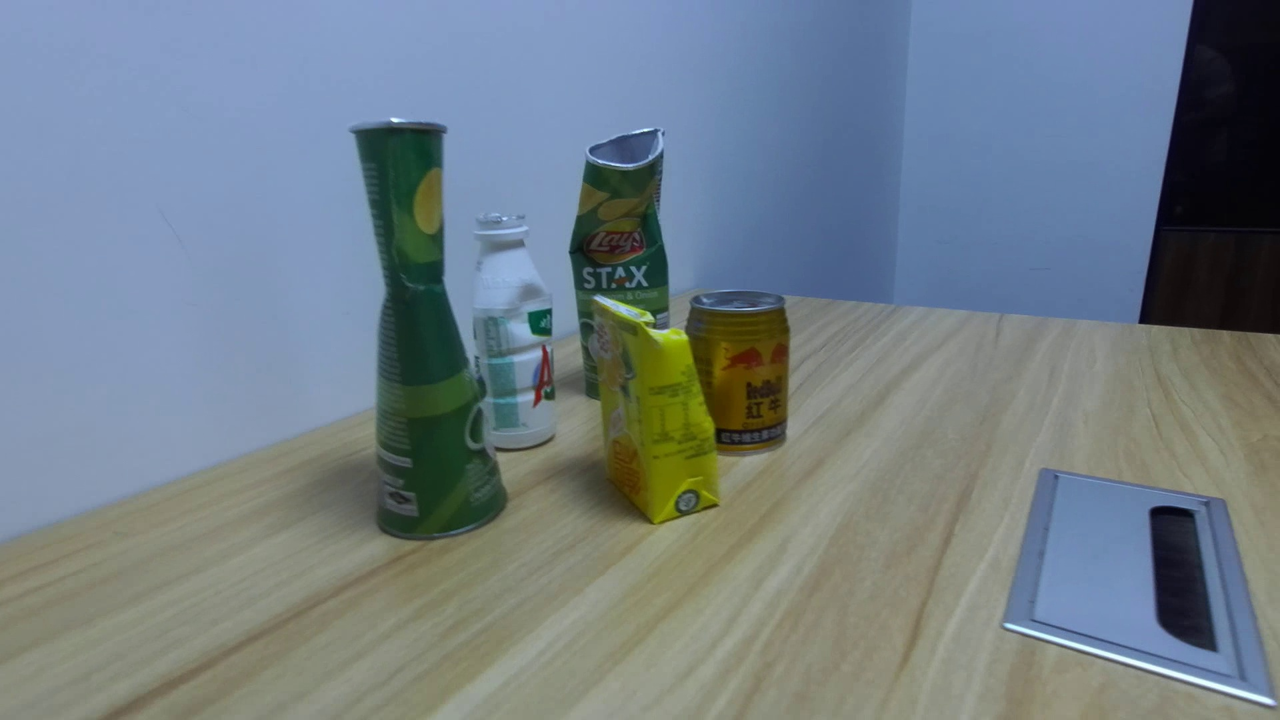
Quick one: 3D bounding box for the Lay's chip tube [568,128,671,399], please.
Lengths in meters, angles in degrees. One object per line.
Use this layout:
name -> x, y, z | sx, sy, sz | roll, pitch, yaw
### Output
Lay's chip tube -> -0.008, -0.064, 0.524 | 0.079, 0.199, 0.070 | -9, 24, -21

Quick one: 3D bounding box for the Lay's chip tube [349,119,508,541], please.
Lay's chip tube -> -0.112, -0.013, 0.361 | 0.074, 0.199, 0.069 | 5, 16, 30

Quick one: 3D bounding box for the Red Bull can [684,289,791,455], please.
Red Bull can -> 0.063, 0.007, 0.455 | 0.067, 0.093, 0.067 | -1, 14, 1

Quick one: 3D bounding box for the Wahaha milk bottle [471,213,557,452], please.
Wahaha milk bottle -> -0.082, -0.017, 0.456 | 0.055, 0.149, 0.055 | 0, 15, 0

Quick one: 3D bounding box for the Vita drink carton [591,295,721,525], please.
Vita drink carton -> 0.010, 0.022, 0.377 | 0.046, 0.109, 0.071 | -10, 18, -21
